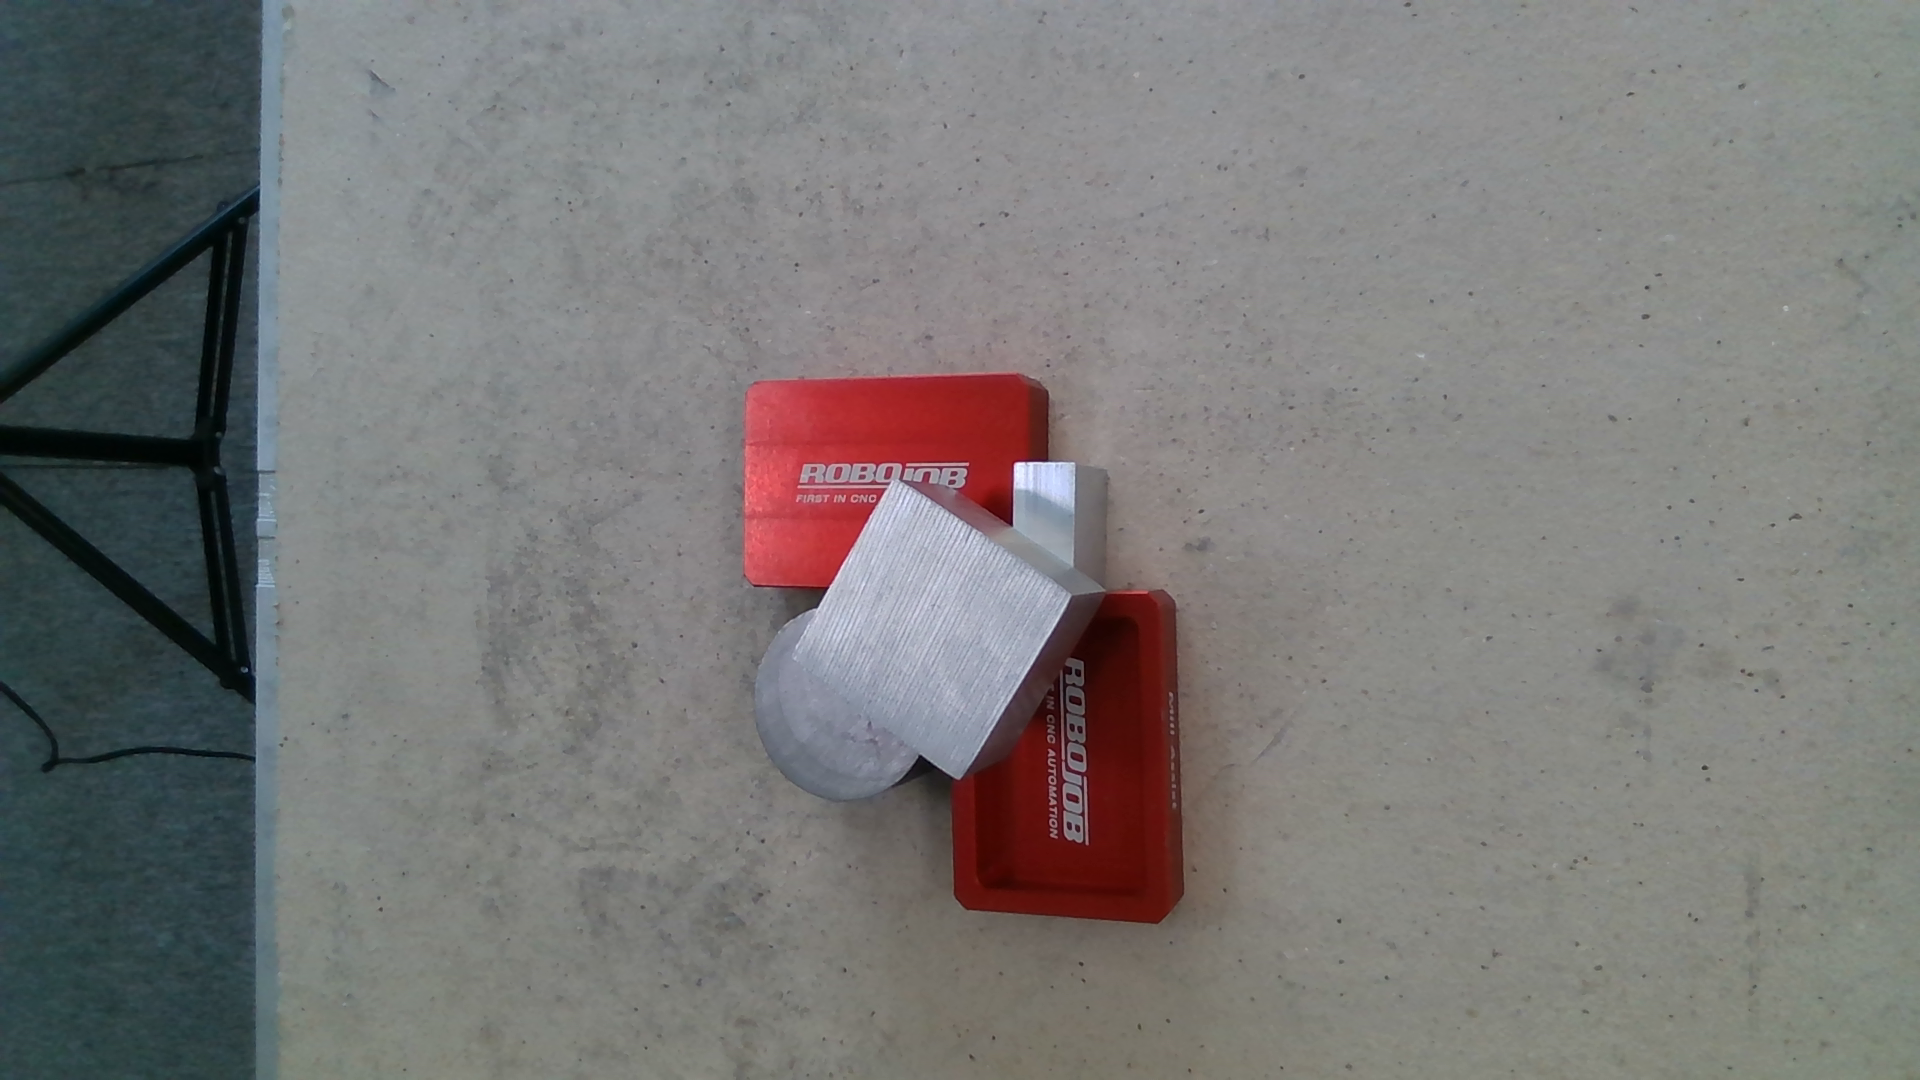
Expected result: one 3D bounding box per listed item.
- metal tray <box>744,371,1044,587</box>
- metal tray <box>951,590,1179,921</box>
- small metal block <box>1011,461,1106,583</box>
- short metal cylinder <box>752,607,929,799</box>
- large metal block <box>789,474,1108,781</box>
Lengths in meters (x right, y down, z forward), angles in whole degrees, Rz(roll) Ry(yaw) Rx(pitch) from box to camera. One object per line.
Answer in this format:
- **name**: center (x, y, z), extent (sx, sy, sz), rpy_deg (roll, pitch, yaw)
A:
- **metal tray**: center (-0.029, -0.024, 0.595), extent (0.130, 0.030, 0.090), rpy_deg (1, 90, 20)
- **metal tray**: center (0.043, 0.086, 0.568), extent (0.090, 0.030, 0.130), rpy_deg (-2, 90, 20)
- **small metal block**: center (0.040, -0.006, 0.558), extent (0.025, 0.050, 0.050), rpy_deg (1, 91, 20)
- **short metal cylinder**: center (-0.041, 0.066, 0.588), extent (0.080, 0.050, 0.080), rpy_deg (0, 90, 20)
- **large metal block**: center (-0.004, 0.031, 0.520), extent (0.080, 0.050, 0.080), rpy_deg (34, 102, 17)
